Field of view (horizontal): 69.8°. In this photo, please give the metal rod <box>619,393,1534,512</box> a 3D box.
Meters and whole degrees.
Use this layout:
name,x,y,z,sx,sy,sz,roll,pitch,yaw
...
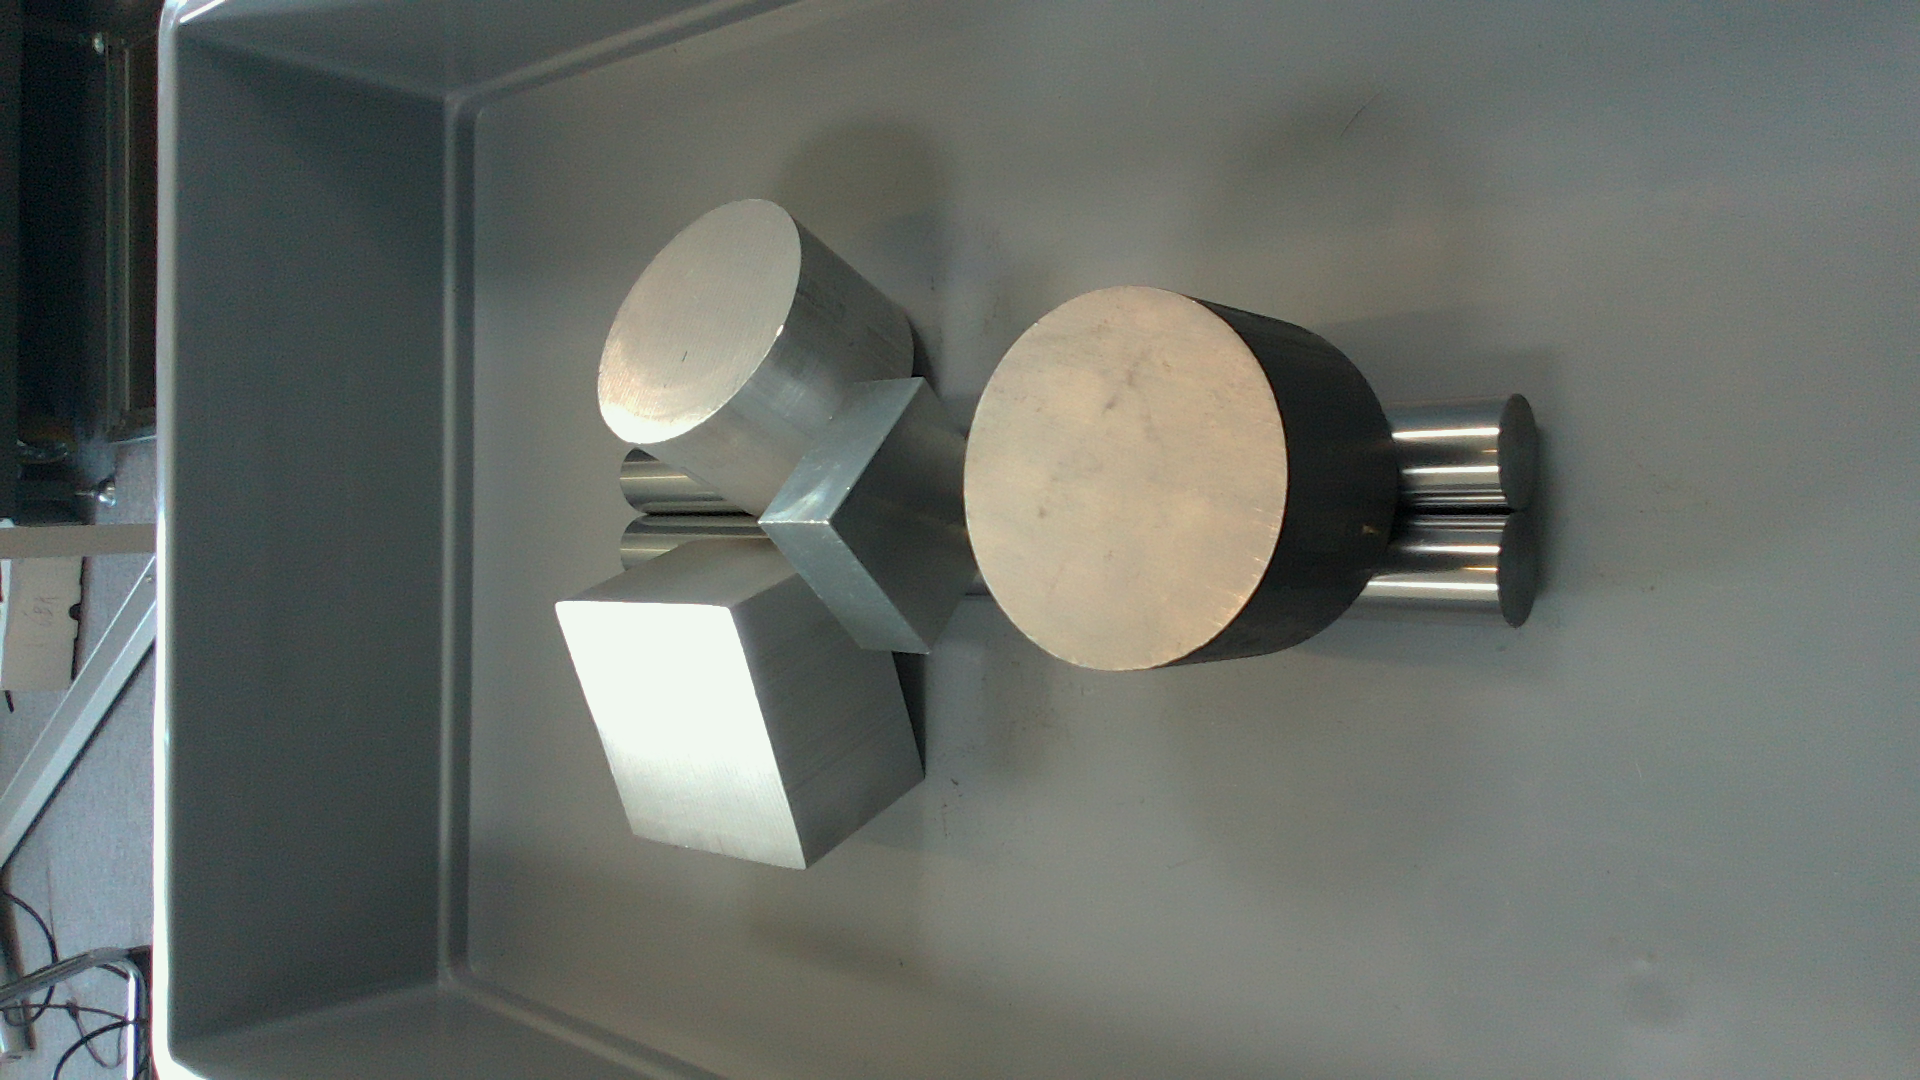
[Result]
name,x,y,z,sx,sy,sz,roll,pitch,yaw
metal rod,0.004,-0.020,0.390,0.299,0.025,0.025,1,91,40

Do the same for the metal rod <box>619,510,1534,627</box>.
name,x,y,z,sx,sy,sz,roll,pitch,yaw
metal rod,0.004,0.005,0.390,0.299,0.025,0.025,1,91,40

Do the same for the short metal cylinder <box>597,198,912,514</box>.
name,x,y,z,sx,sy,sz,roll,pitch,yaw
short metal cylinder,-0.061,-0.053,0.410,0.080,0.050,0.080,-20,55,30

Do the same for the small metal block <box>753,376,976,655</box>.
name,x,y,z,sx,sy,sz,roll,pitch,yaw
small metal block,-0.018,-0.006,0.355,0.025,0.050,0.050,1,49,40

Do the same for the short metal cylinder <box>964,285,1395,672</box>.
name,x,y,z,sx,sy,sz,roll,pitch,yaw
short metal cylinder,0.048,-0.013,0.304,0.080,0.050,0.080,0,90,40

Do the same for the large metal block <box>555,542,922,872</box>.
name,x,y,z,sx,sy,sz,roll,pitch,yaw
large metal block,-0.067,0.047,0.415,0.080,0.050,0.080,-1,109,40
